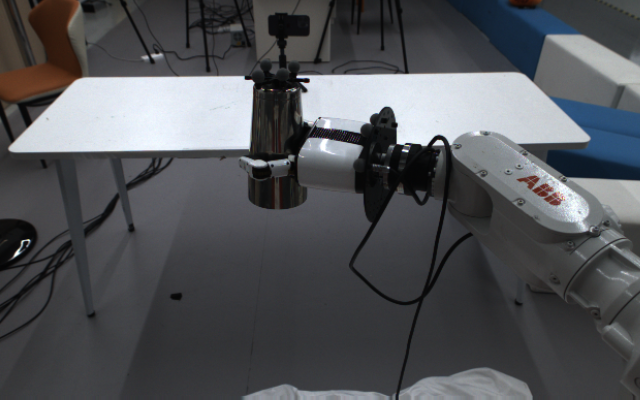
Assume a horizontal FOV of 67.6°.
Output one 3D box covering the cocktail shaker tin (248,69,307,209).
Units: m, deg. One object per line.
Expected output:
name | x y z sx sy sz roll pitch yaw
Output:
cocktail shaker tin | -0.061 -0.083 0.703 0.093 0.170 0.093 2 28 -1
